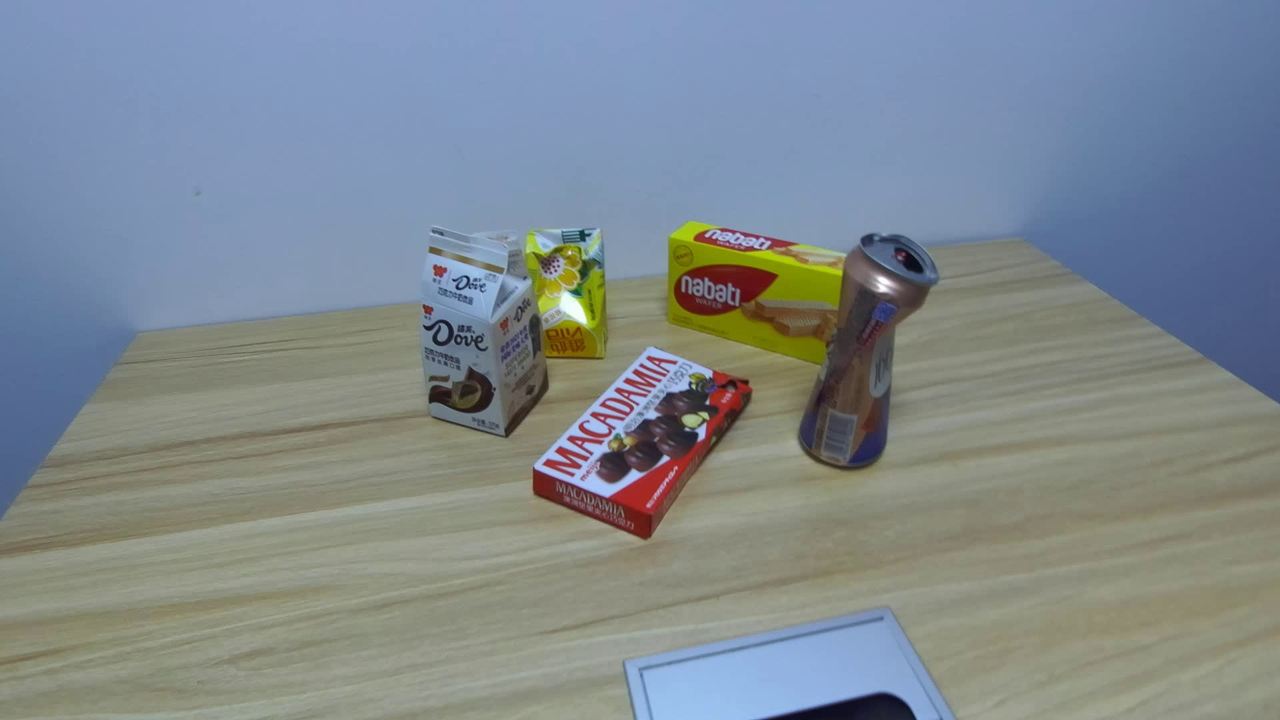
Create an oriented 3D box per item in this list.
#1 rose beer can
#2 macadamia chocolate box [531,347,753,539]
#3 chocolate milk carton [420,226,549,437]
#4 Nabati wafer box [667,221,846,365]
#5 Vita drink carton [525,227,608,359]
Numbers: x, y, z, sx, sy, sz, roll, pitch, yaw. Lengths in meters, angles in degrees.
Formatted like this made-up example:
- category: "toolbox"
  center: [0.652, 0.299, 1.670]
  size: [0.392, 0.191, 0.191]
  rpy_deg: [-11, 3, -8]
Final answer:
- category: "rose beer can"
  center: [0.155, -0.003, 0.492]
  size: [0.070, 0.168, 0.069]
  rpy_deg: [-6, 35, -16]
- category: "macadamia chocolate box"
  center: [0.011, 0.052, 0.540]
  size: [0.102, 0.027, 0.187]
  rpy_deg: [18, 39, 22]
- category: "chocolate milk carton"
  center: [-0.126, -0.028, 0.546]
  size: [0.084, 0.155, 0.073]
  rpy_deg: [13, 36, 20]
- category: "Nabati wafer box"
  center: [0.121, -0.056, 0.633]
  size: [0.202, 0.093, 0.042]
  rpy_deg: [17, 36, 23]
- category: "Vita drink carton"
  center: [-0.065, -0.057, 0.626]
  size: [0.071, 0.110, 0.046]
  rpy_deg: [1, 31, 5]
